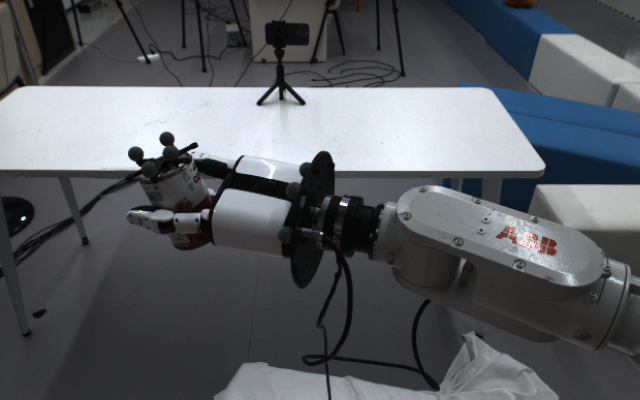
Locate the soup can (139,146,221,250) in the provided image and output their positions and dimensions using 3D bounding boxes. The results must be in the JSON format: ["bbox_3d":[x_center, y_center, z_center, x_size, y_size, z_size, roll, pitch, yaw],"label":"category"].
[{"bbox_3d":[-0.166,0.002,0.587,0.067,0.101,0.067,-13,31,8],"label":"soup can"}]
